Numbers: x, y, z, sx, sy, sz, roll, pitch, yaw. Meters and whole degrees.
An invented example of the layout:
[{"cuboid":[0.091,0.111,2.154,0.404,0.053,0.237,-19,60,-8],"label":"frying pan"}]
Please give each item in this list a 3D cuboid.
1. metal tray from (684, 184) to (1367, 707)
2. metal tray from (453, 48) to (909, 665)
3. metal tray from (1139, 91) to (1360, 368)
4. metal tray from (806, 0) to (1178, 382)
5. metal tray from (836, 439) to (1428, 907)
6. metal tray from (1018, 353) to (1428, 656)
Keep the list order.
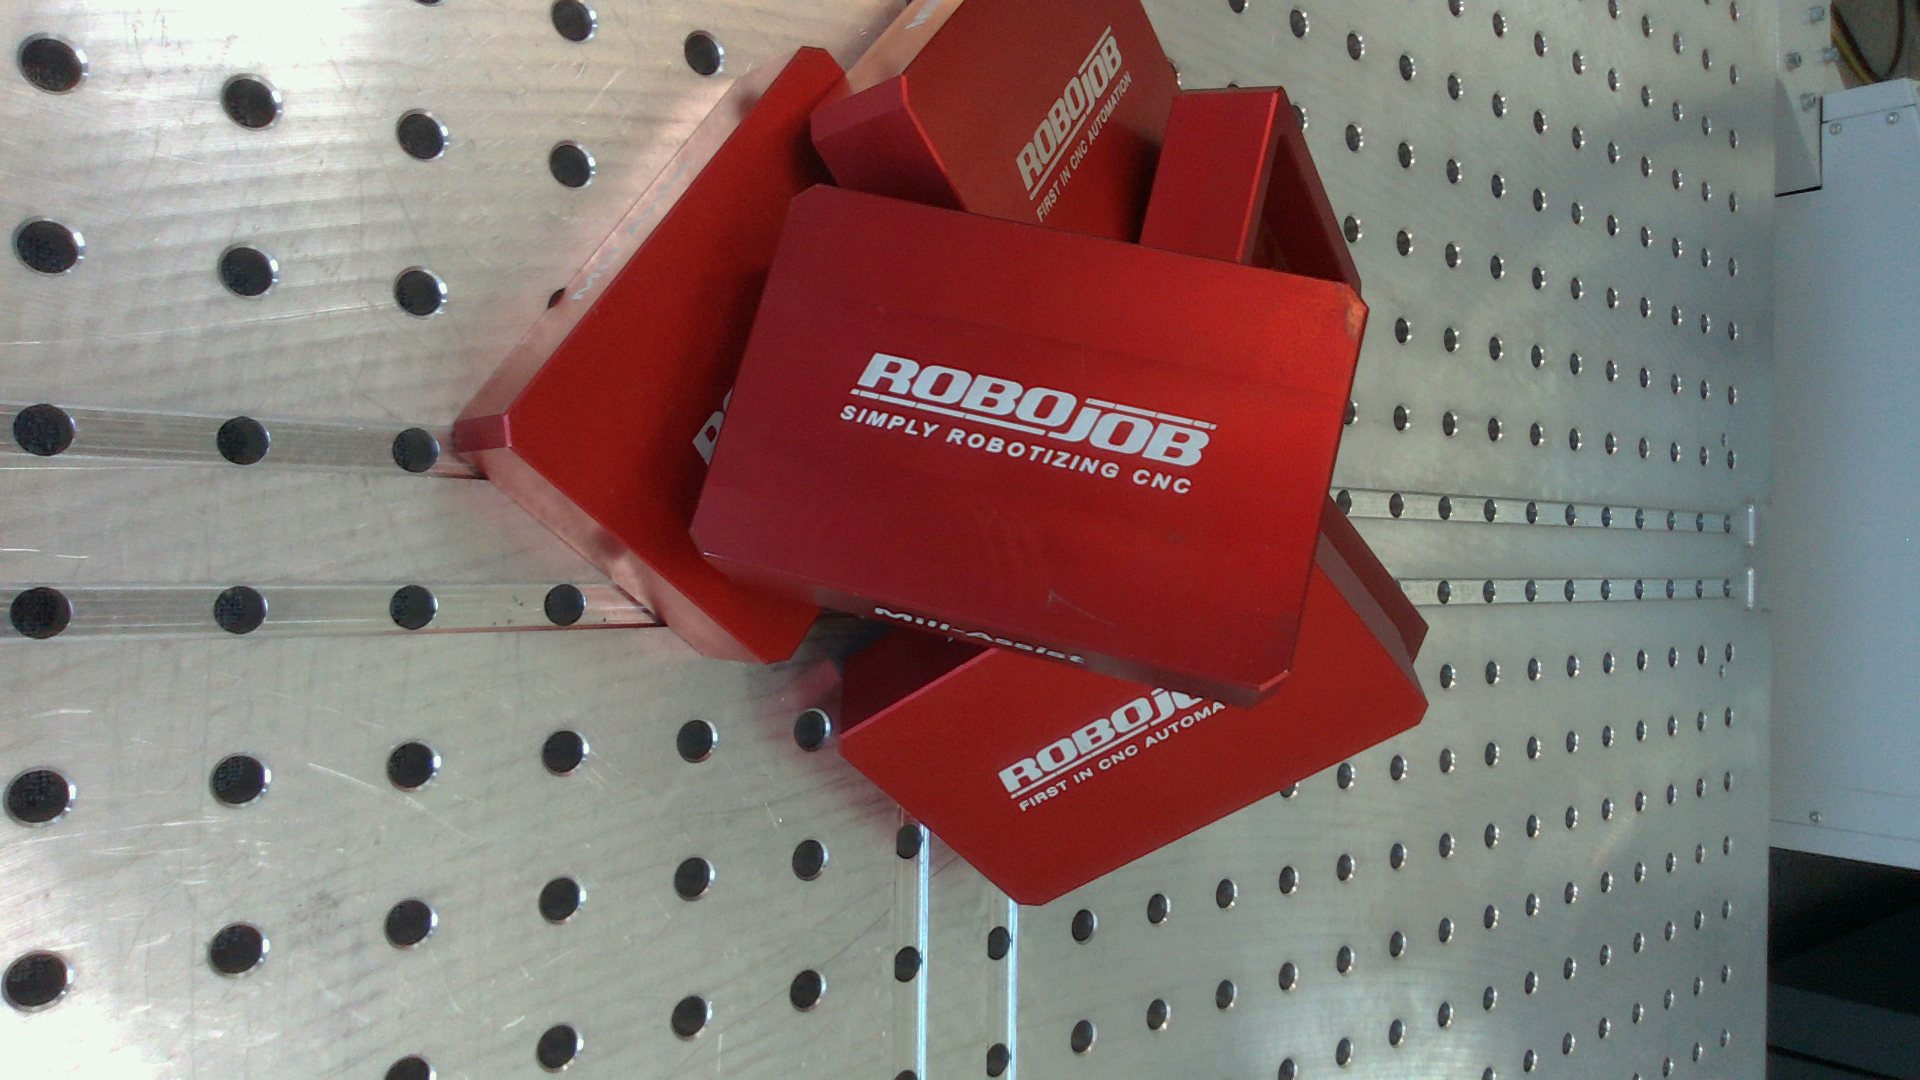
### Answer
[{"cuboid":[0.015,-0.022,0.306,0.030,0.130,0.090,66,37,-75],"label":"metal tray"},{"cuboid":[-0.050,-0.046,0.347,0.090,0.030,0.130,47,62,-31],"label":"metal tray"},{"cuboid":[0.092,-0.068,0.433,0.130,0.030,0.090,34,68,-59],"label":"metal tray"},{"cuboid":[0.019,-0.112,0.380,0.090,0.030,0.130,56,44,-29],"label":"metal tray"},{"cuboid":[0.044,0.040,0.366,0.090,0.130,0.030,46,24,-30],"label":"metal tray"},{"cuboid":[0.066,-0.001,0.403,0.130,0.090,0.030,46,62,-30],"label":"metal tray"}]
